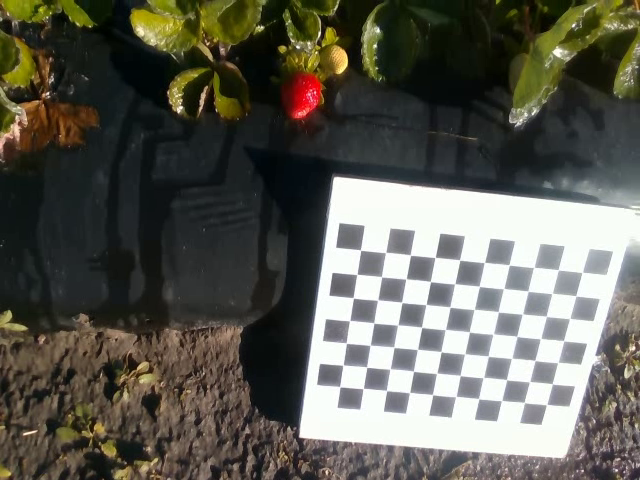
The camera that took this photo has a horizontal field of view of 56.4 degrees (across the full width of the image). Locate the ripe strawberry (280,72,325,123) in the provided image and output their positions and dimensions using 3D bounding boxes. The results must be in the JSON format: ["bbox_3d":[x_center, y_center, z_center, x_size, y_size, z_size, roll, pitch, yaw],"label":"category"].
[{"bbox_3d":[-0.013,-0.094,0.407,0.039,0.040,0.039,0,42,8],"label":"ripe strawberry"}]
